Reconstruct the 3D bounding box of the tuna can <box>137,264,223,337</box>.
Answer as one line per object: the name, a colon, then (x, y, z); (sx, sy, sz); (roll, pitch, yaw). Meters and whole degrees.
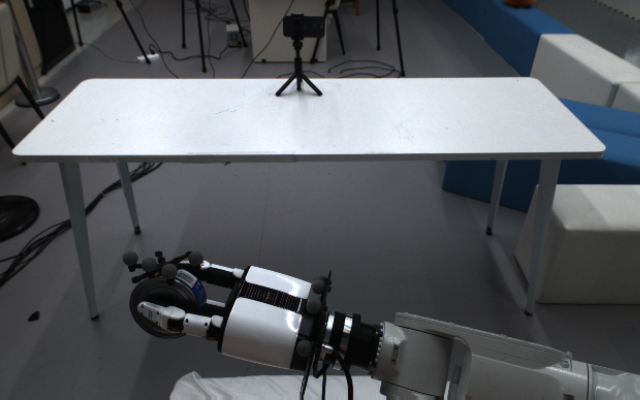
tuna can: (-0.178, 0.127, 0.593); (0.085, 0.085, 0.034); (4, 18, 3)
